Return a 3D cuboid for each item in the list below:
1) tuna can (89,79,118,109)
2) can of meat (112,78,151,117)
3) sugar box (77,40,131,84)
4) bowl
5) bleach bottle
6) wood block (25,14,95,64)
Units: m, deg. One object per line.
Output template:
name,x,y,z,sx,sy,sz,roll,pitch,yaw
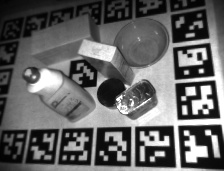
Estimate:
tuna can,-0.022,0.023,0.625,0.085,0.034,0.085,-5,73,18
can of meat,0.052,0.035,0.575,0.102,0.084,0.057,-32,61,4
sugar box,-0.021,-0.059,0.574,0.092,0.178,0.045,17,80,28
bowl,0.078,-0.122,0.634,0.160,0.056,0.161,-7,68,20
bleach bottle,-0.152,0.019,0.552,0.102,0.253,0.067,-29,63,8
wood block,-0.170,-0.151,0.711,0.205,0.091,0.090,-13,72,13
